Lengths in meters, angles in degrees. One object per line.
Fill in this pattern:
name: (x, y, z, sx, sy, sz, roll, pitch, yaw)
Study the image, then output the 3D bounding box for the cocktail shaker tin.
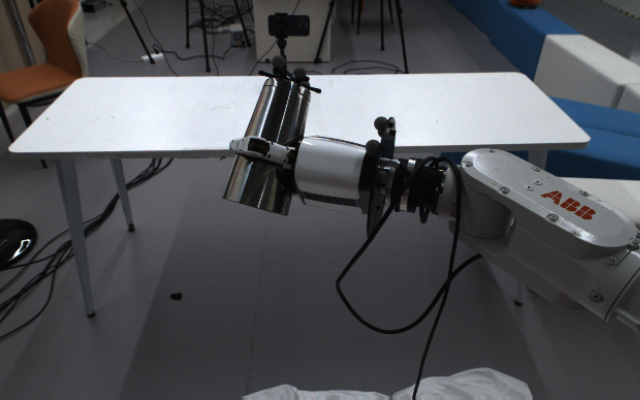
cocktail shaker tin: (-0.065, -0.072, 0.654, 0.093, 0.170, 0.093, 15, -4, 1)
